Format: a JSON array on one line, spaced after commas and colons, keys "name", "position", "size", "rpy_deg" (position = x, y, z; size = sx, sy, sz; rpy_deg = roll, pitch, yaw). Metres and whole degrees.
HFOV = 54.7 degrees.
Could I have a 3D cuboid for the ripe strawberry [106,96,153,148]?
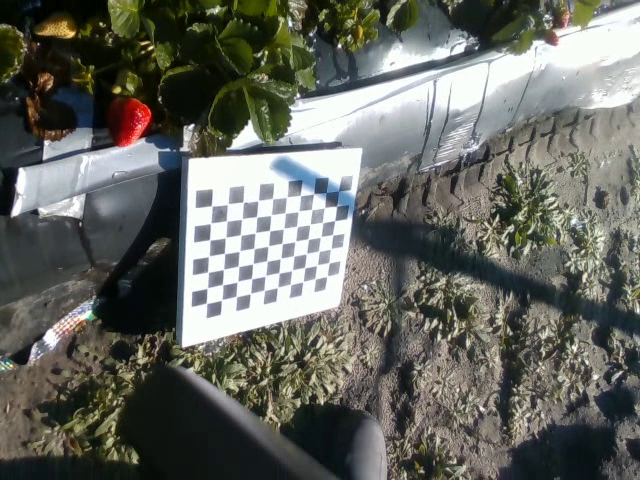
[{"name": "ripe strawberry", "position": [-0.229, -0.135, 0.738], "size": [0.057, 0.065, 0.061], "rpy_deg": [-22, -34, 28]}]
